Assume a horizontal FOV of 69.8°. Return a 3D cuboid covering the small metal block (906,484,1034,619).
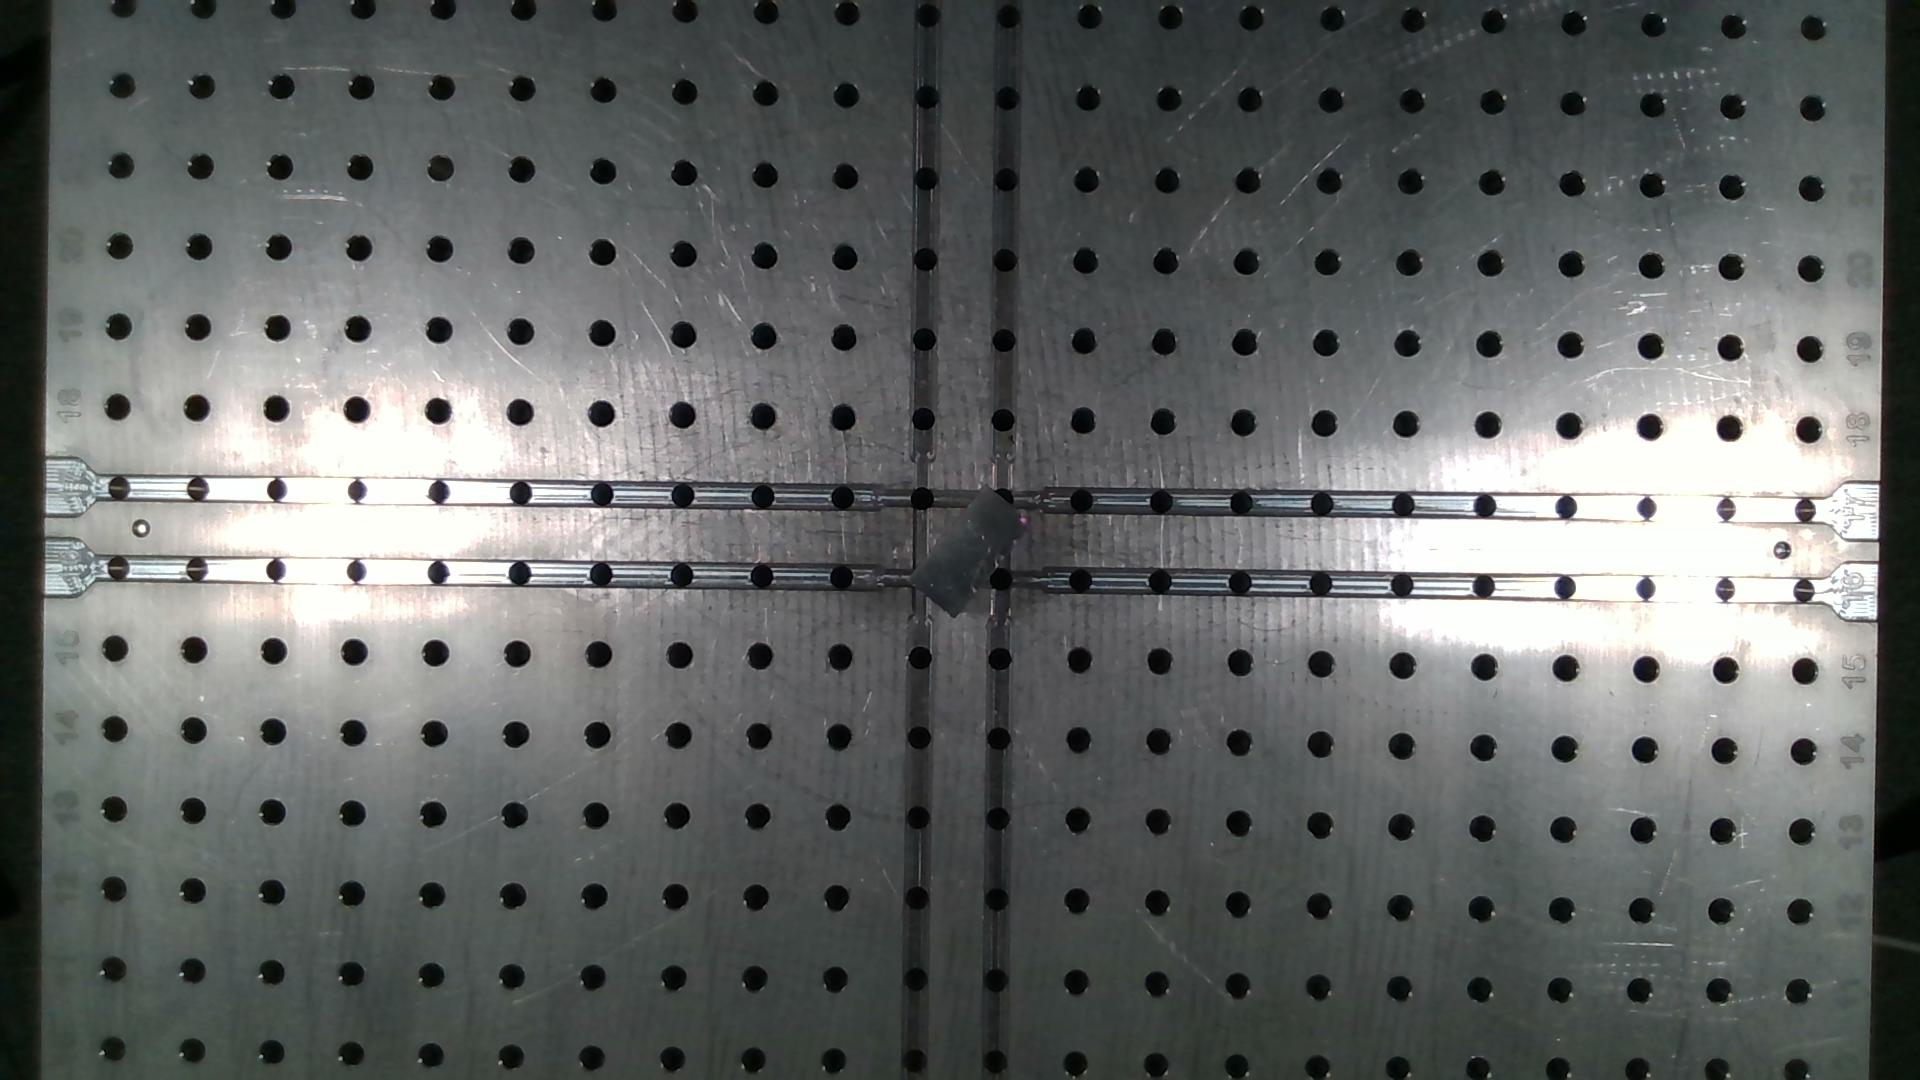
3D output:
[{"bbox_3d":[0.004,0.005,0.577,0.025,0.050,0.050,40,90,0],"label":"small metal block"}]
